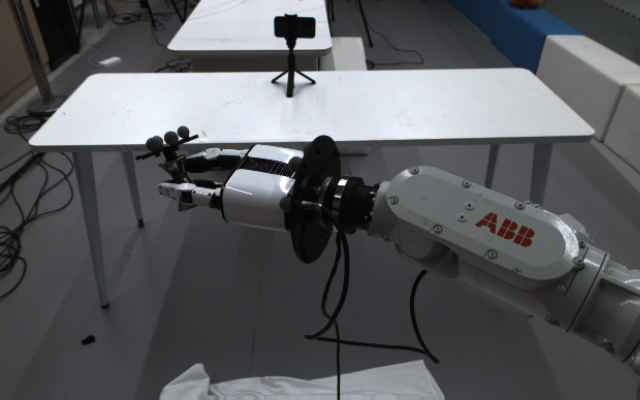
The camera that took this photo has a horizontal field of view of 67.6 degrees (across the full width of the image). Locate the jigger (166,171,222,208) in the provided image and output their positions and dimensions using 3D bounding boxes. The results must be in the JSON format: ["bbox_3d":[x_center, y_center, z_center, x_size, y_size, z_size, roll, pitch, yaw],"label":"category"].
[{"bbox_3d":[-0.183,-0.025,0.661,0.043,0.071,0.043,-20,16,6],"label":"jigger"}]
